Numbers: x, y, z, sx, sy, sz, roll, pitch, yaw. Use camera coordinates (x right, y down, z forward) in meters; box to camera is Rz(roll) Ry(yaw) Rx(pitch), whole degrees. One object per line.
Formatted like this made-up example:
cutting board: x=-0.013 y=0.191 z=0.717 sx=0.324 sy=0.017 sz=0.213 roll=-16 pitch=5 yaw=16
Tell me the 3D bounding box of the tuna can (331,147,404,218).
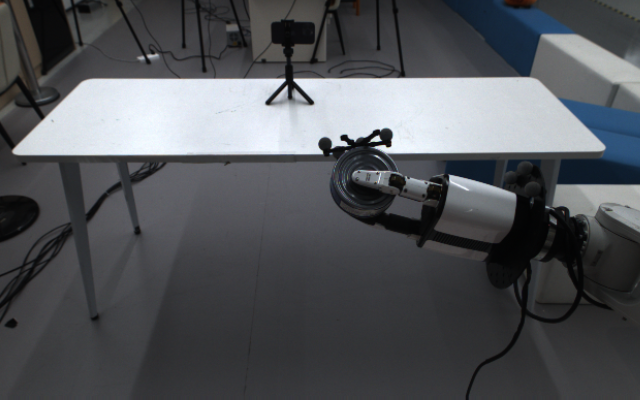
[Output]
tuna can: x=0.060 y=-0.018 z=0.602 sx=0.085 sy=0.034 sz=0.085 roll=0 pitch=72 yaw=-1
